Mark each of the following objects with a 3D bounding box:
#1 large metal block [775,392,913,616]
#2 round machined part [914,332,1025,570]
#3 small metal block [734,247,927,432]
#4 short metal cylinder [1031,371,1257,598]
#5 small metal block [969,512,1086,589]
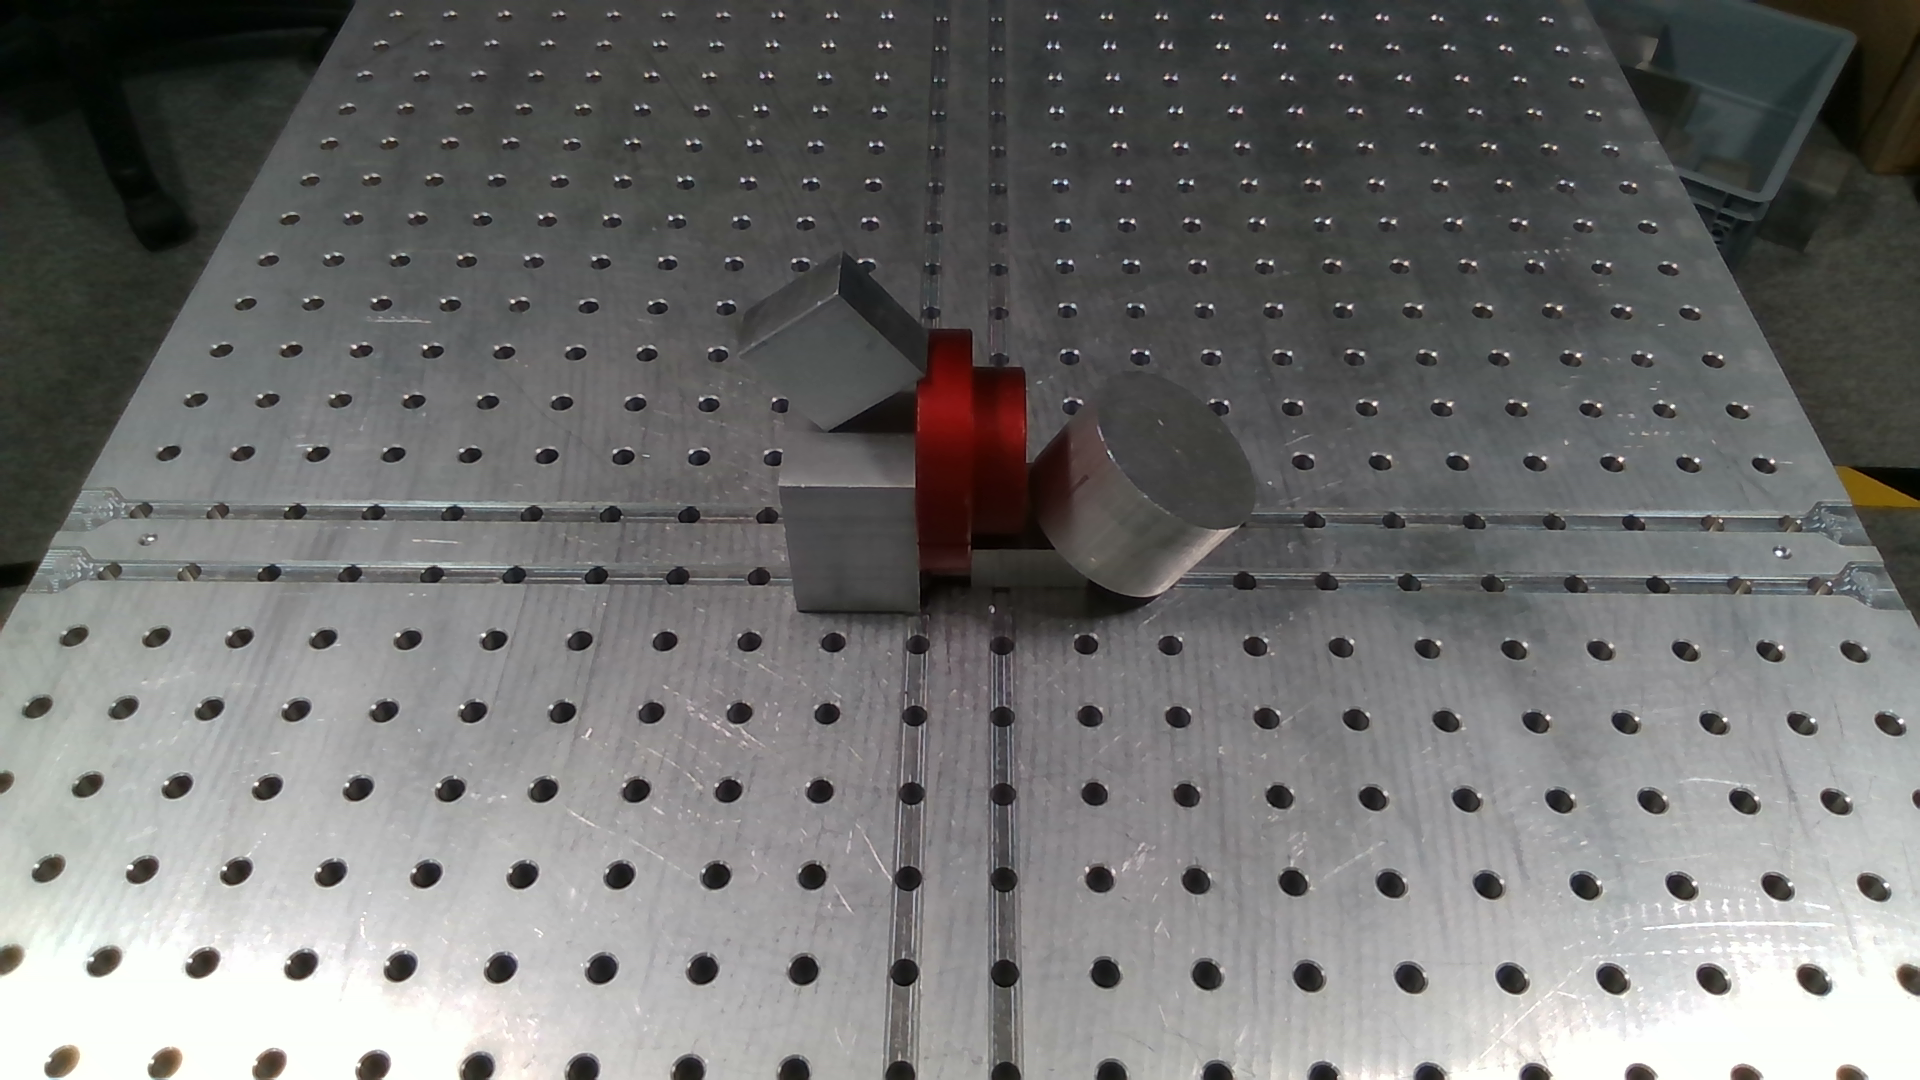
[{"bbox_3d":[-0.044,-0.025,0.574,0.050,0.080,0.080,1,50,1],"label":"large metal block"},{"bbox_3d":[0.004,-0.036,0.559,0.042,0.098,0.098,0,50,0],"label":"round machined part"},{"bbox_3d":[-0.048,-0.074,0.517,0.050,0.050,0.025,-26,44,29],"label":"small metal block"},{"bbox_3d":[0.076,-0.023,0.571,0.080,0.050,0.080,20,47,-23],"label":"short metal cylinder"},{"bbox_3d":[0.029,-0.007,0.595,0.050,0.025,0.050,0,50,0],"label":"small metal block"}]
